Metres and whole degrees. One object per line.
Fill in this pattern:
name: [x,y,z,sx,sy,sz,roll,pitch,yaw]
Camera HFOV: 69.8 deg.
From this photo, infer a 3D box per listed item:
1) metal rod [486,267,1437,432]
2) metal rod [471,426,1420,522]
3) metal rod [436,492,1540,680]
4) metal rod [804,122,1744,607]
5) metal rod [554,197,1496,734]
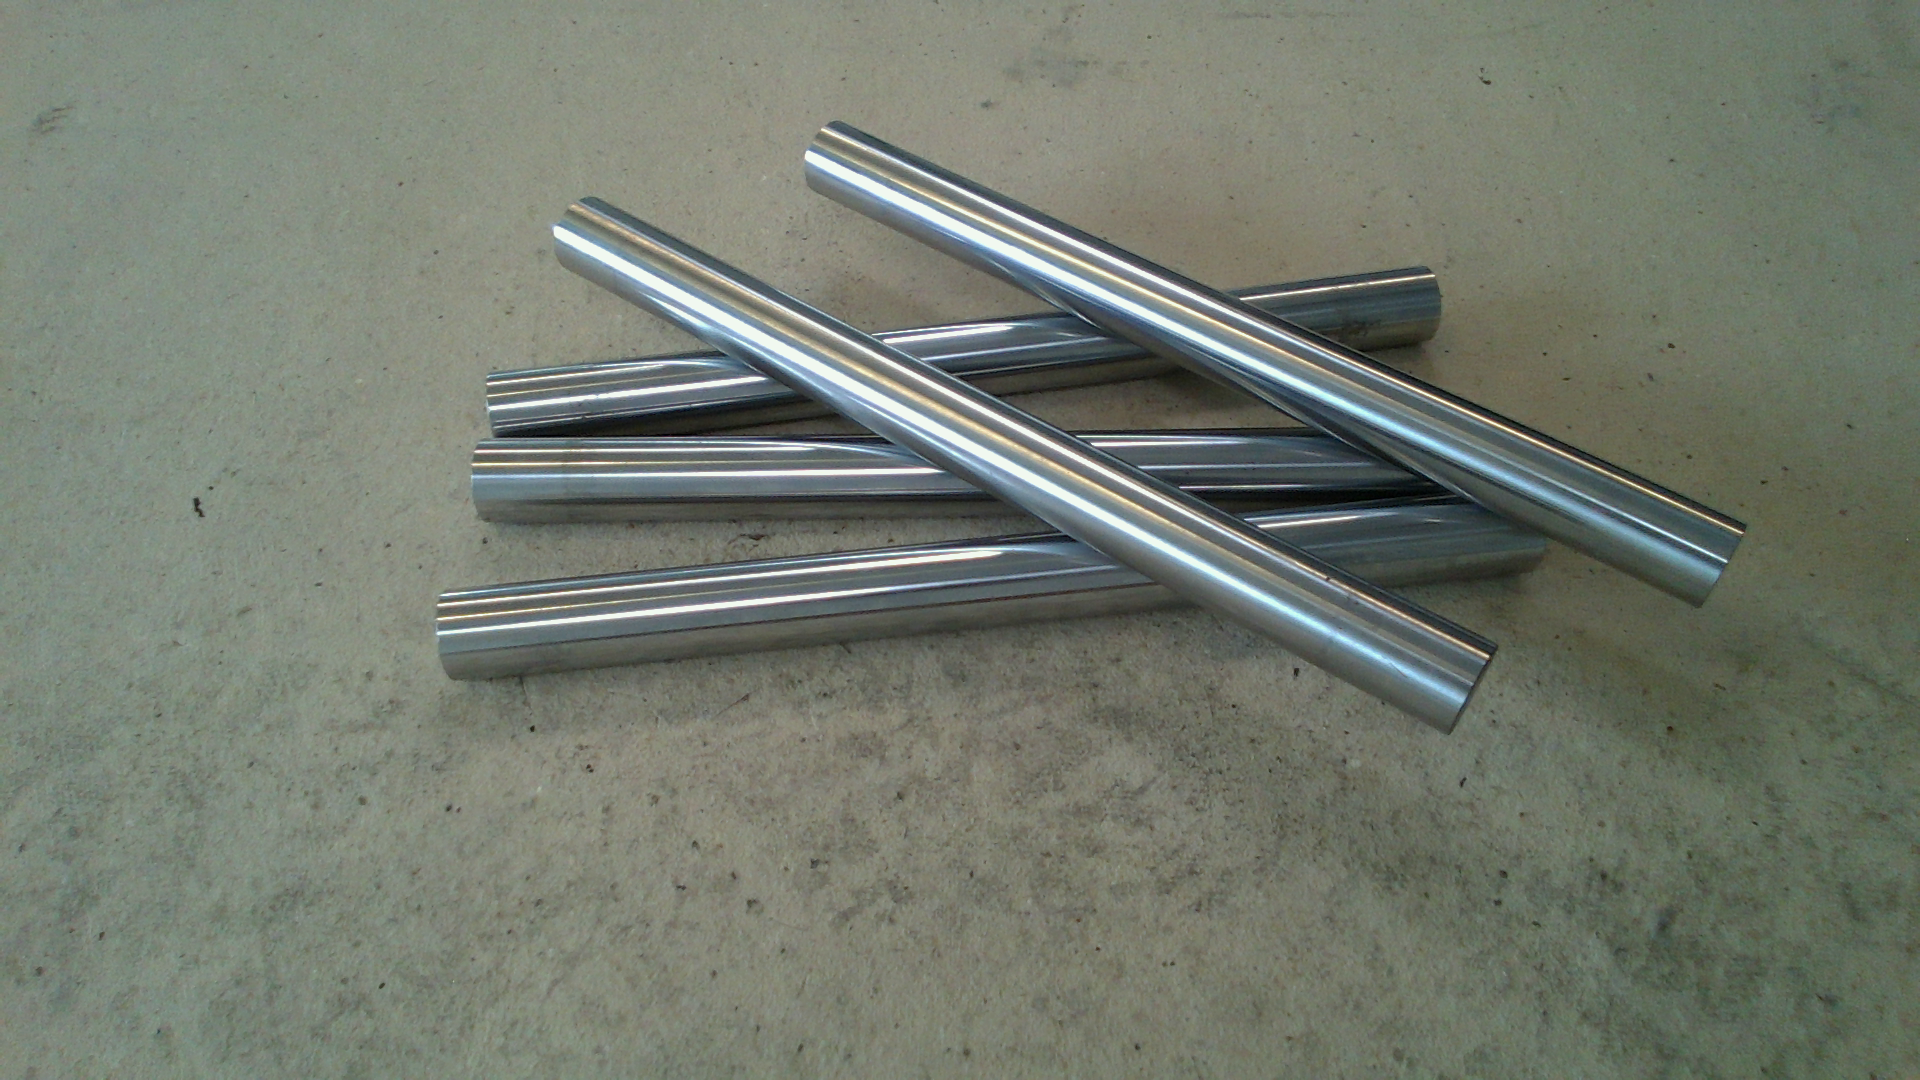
metal rod: [0.005,-0.059,0.441,0.300,0.025,0.025,-7,50,-6]
metal rod: [0.010,-0.020,0.409,0.300,0.025,0.025,-1,50,-1]
metal rod: [0.012,0.011,0.383,0.300,0.025,0.025,-6,50,-5]
metal rod: [0.075,-0.062,0.411,0.299,0.025,0.025,30,56,23]
metal rod: [0.001,-0.031,0.385,0.299,0.025,0.025,29,56,22]
